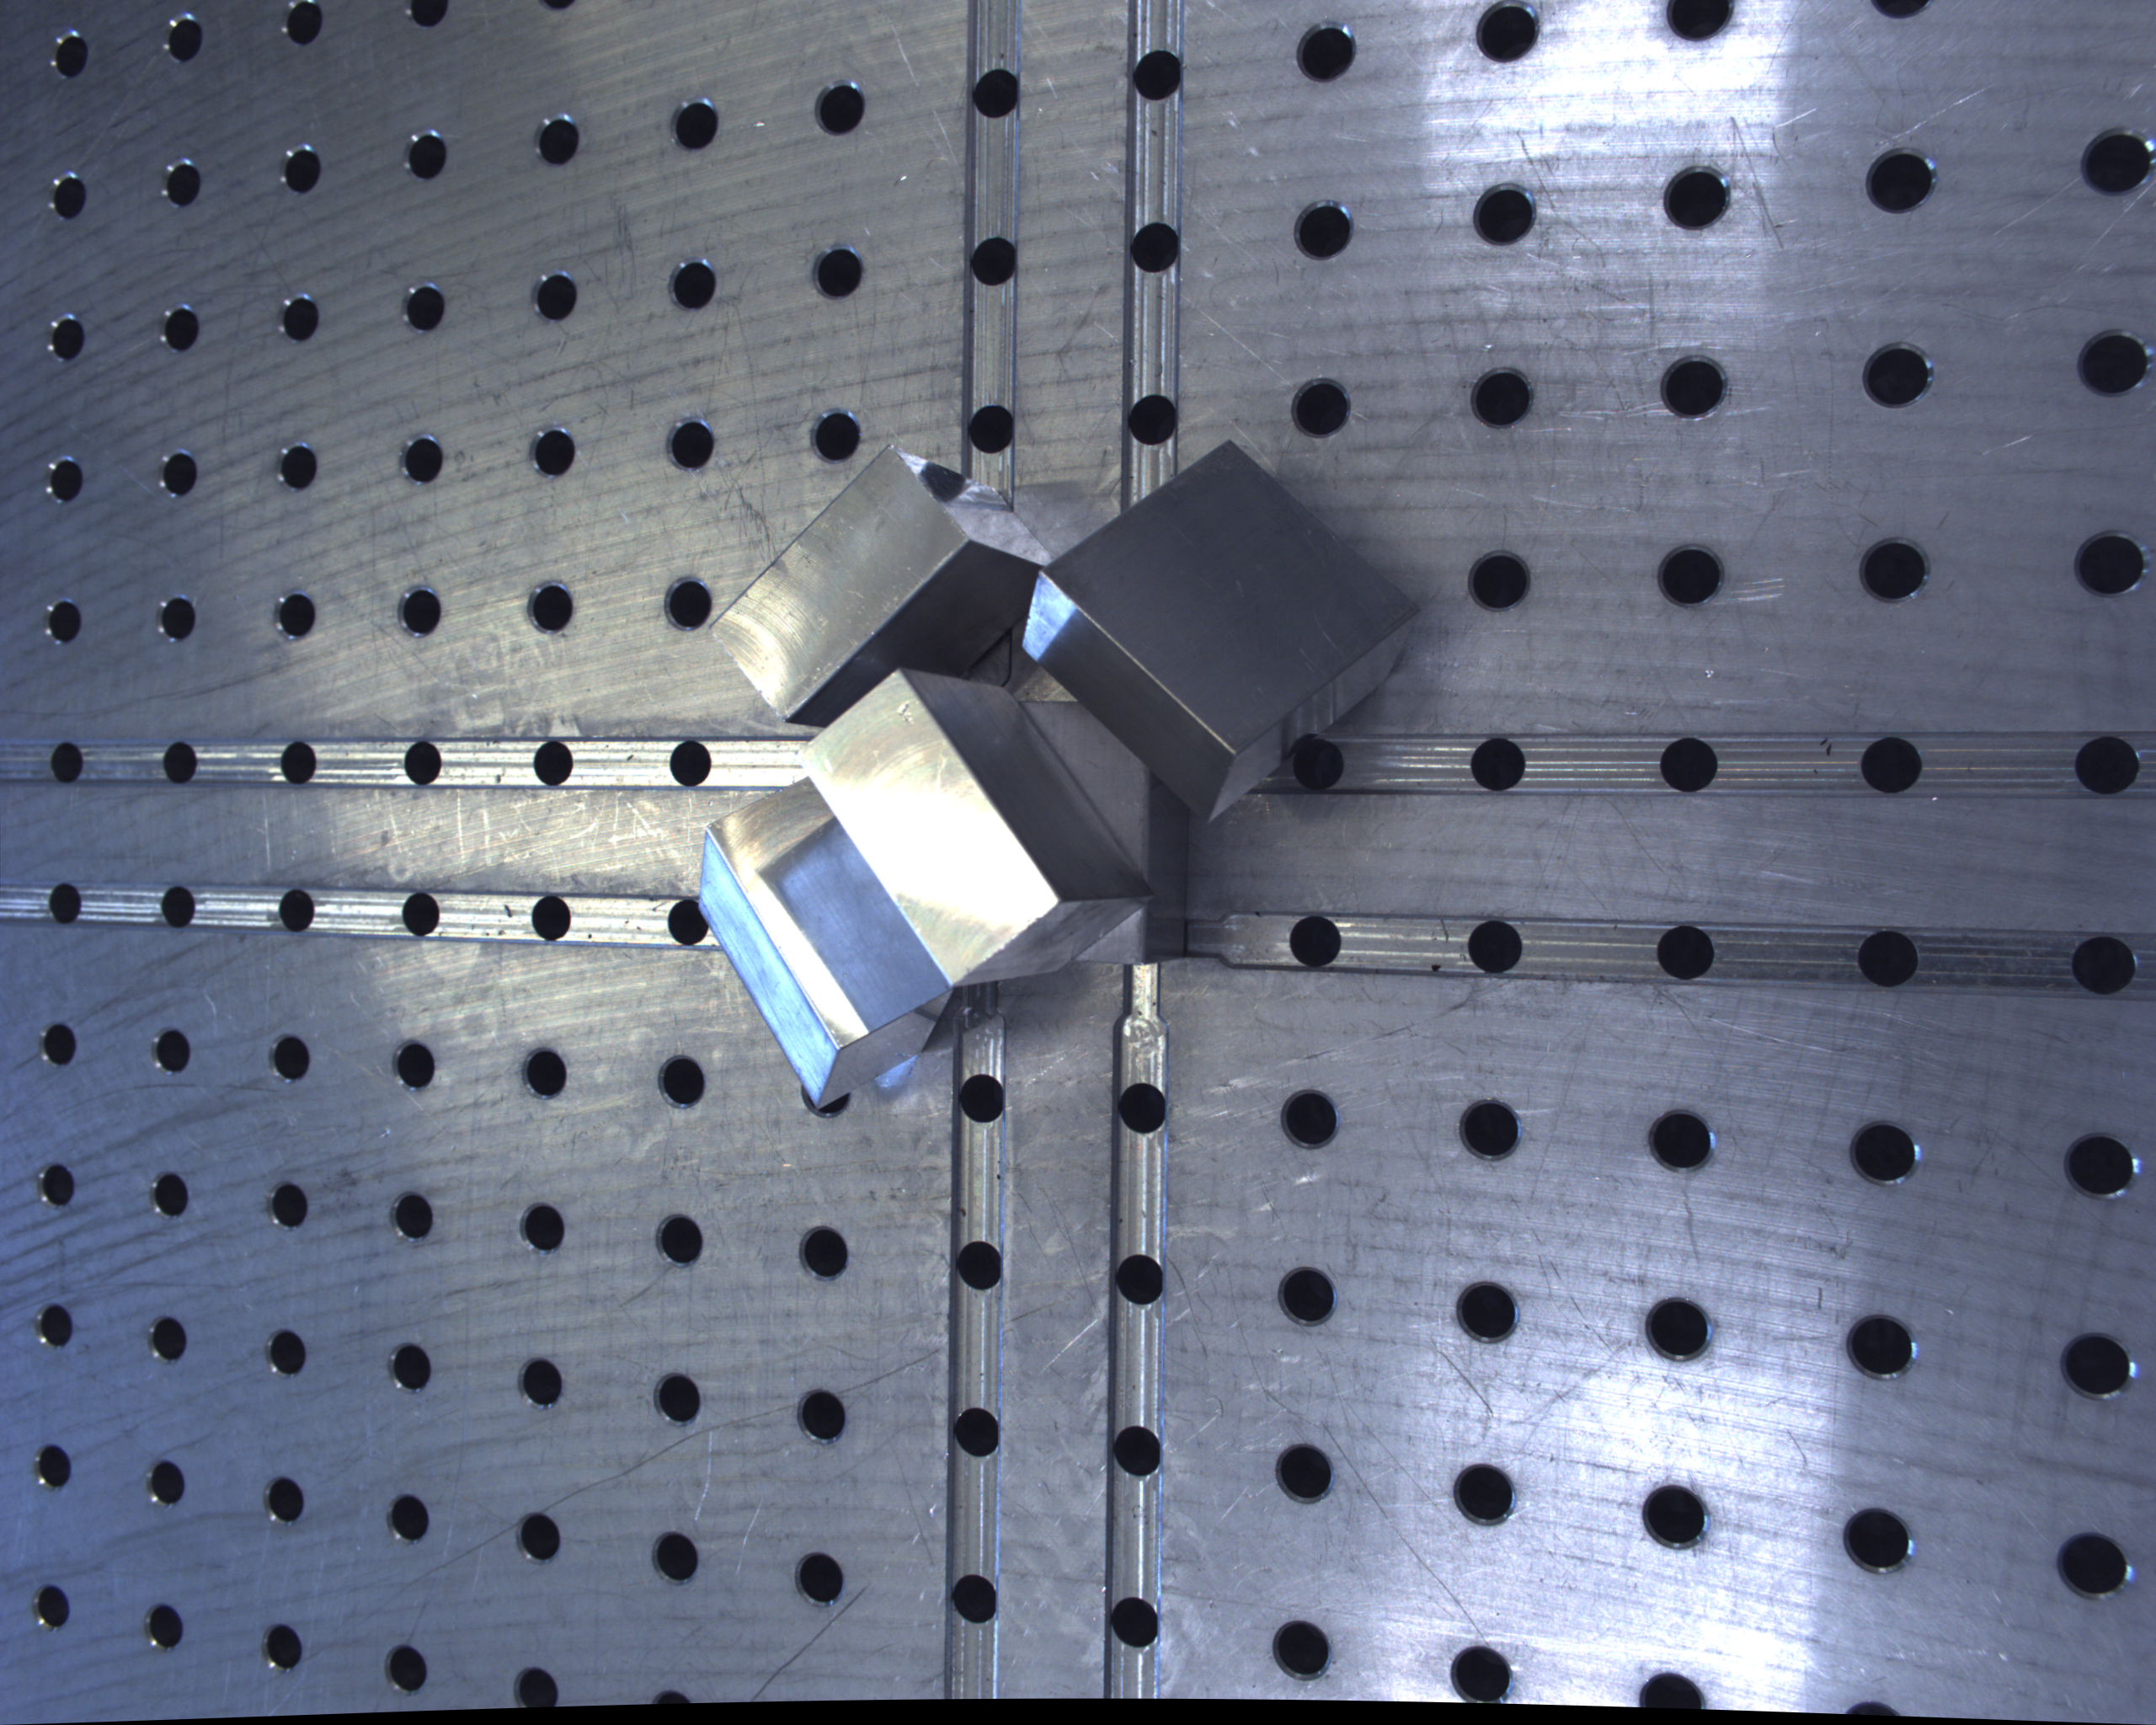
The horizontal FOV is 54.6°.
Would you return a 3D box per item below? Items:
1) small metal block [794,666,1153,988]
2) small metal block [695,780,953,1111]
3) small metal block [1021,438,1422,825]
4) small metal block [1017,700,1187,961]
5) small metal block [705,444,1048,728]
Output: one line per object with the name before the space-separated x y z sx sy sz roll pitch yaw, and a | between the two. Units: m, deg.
small metal block | -0.018 -0.006 0.379 0.025 0.050 0.050 -38 79 15
small metal block | -0.052 0.017 0.415 0.025 0.050 0.050 -28 79 -20
small metal block | 0.026 -0.044 0.389 0.050 0.025 0.050 -38 74 -25
small metal block | -0.006 -0.006 0.415 0.050 0.025 0.050 1 90 19
small metal block | -0.037 -0.052 0.413 0.050 0.050 0.025 -43 77 15
